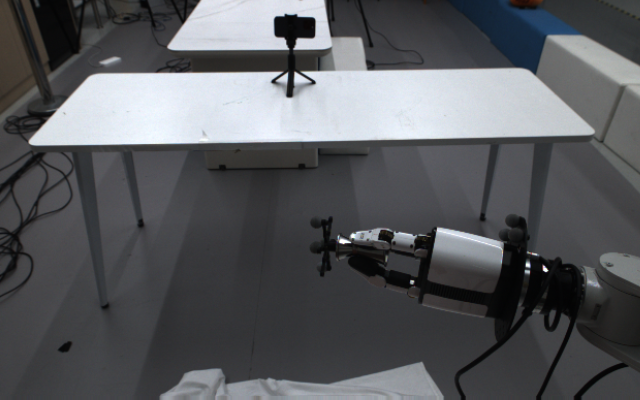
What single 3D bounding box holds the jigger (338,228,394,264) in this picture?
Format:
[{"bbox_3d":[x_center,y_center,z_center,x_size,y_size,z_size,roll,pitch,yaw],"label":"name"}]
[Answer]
[{"bbox_3d":[0.066,0.063,0.666,0.071,0.043,0.043,2,34,13],"label":"jigger"}]
